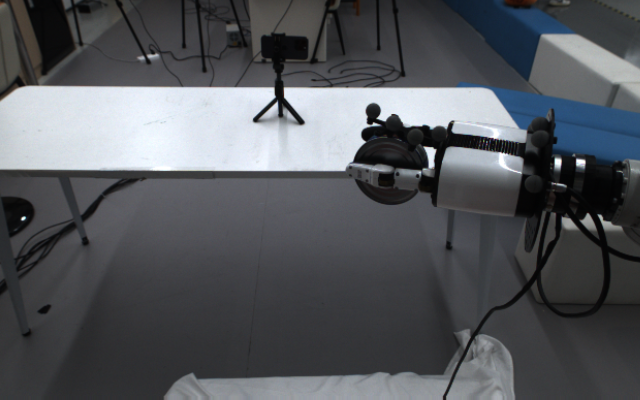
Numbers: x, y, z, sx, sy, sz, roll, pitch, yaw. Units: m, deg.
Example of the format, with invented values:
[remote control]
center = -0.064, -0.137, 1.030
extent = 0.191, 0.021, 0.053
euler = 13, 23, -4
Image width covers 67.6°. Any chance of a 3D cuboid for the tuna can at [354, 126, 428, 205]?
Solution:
[tuna can]
center = 0.087, -0.040, 0.581
extent = 0.085, 0.085, 0.034
euler = 16, 28, 19
